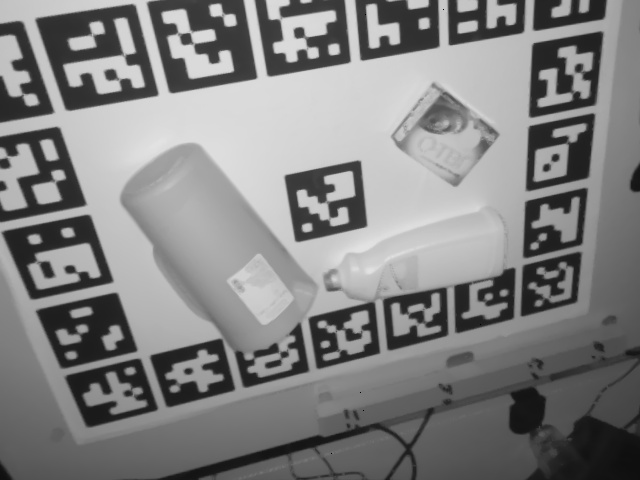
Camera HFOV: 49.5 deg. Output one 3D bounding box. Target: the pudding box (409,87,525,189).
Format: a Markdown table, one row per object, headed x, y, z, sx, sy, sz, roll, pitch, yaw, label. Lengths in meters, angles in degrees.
| x | y | z | sx | sy | sz | roll | pitch | yaw | label |
| --- | --- | --- | --- | --- | --- | --- | --- | --- | --- |
| 0.180 | -0.121 | 0.854 | 0.114 | 0.039 | 0.089 | 32 | 112 | -24 | pudding box |

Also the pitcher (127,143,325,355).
| x | y | z | sx | sy | sz | roll | pitch | yaw | label |
| --- | --- | --- | --- | --- | --- | --- | --- | --- | --- |
| -0.120 | 0.012 | 0.827 | 0.186 | 0.135 | 0.243 | -16 | 121 | 36 | pitcher |

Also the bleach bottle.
| x | y | z | sx | sy | sz | roll | pitch | yaw | label |
| --- | --- | --- | --- | --- | --- | --- | --- | --- | --- |
| 0.145 | 0.044 | 0.925 | 0.252 | 0.068 | 0.102 | -13 | 115 | -4 | bleach bottle |
